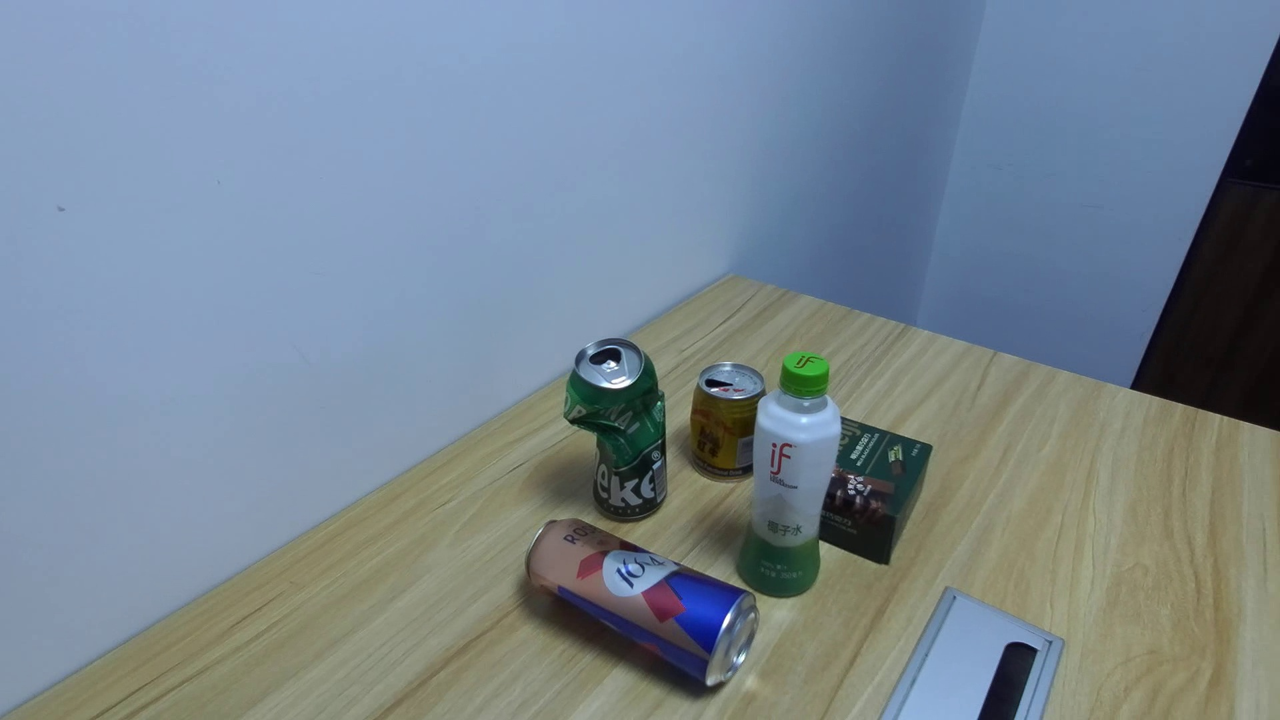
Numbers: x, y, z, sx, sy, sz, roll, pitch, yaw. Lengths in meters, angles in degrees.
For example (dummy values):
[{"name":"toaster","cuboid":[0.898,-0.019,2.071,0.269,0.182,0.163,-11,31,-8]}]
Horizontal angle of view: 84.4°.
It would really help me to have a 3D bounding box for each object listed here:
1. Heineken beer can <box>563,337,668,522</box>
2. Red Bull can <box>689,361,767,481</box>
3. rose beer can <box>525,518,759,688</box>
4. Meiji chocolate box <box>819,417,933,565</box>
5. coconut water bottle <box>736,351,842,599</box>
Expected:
[{"name":"Heineken beer can","cuboid":[-0.014,0.058,0.583,0.067,0.159,0.079,3,36,13]},{"name":"Red Bull can","cuboid":[0.082,0.056,0.649,0.069,0.092,0.069,-1,28,1]},{"name":"rose beer can","cuboid":[-0.001,0.162,0.496,0.167,0.069,0.070,16,54,29]},{"name":"Meiji chocolate box","cuboid":[0.178,0.103,0.604,0.108,0.056,0.110,19,35,27]},{"name":"coconut water bottle","cuboid":[0.108,0.083,0.505,0.063,0.189,0.063,0,31,0]}]
